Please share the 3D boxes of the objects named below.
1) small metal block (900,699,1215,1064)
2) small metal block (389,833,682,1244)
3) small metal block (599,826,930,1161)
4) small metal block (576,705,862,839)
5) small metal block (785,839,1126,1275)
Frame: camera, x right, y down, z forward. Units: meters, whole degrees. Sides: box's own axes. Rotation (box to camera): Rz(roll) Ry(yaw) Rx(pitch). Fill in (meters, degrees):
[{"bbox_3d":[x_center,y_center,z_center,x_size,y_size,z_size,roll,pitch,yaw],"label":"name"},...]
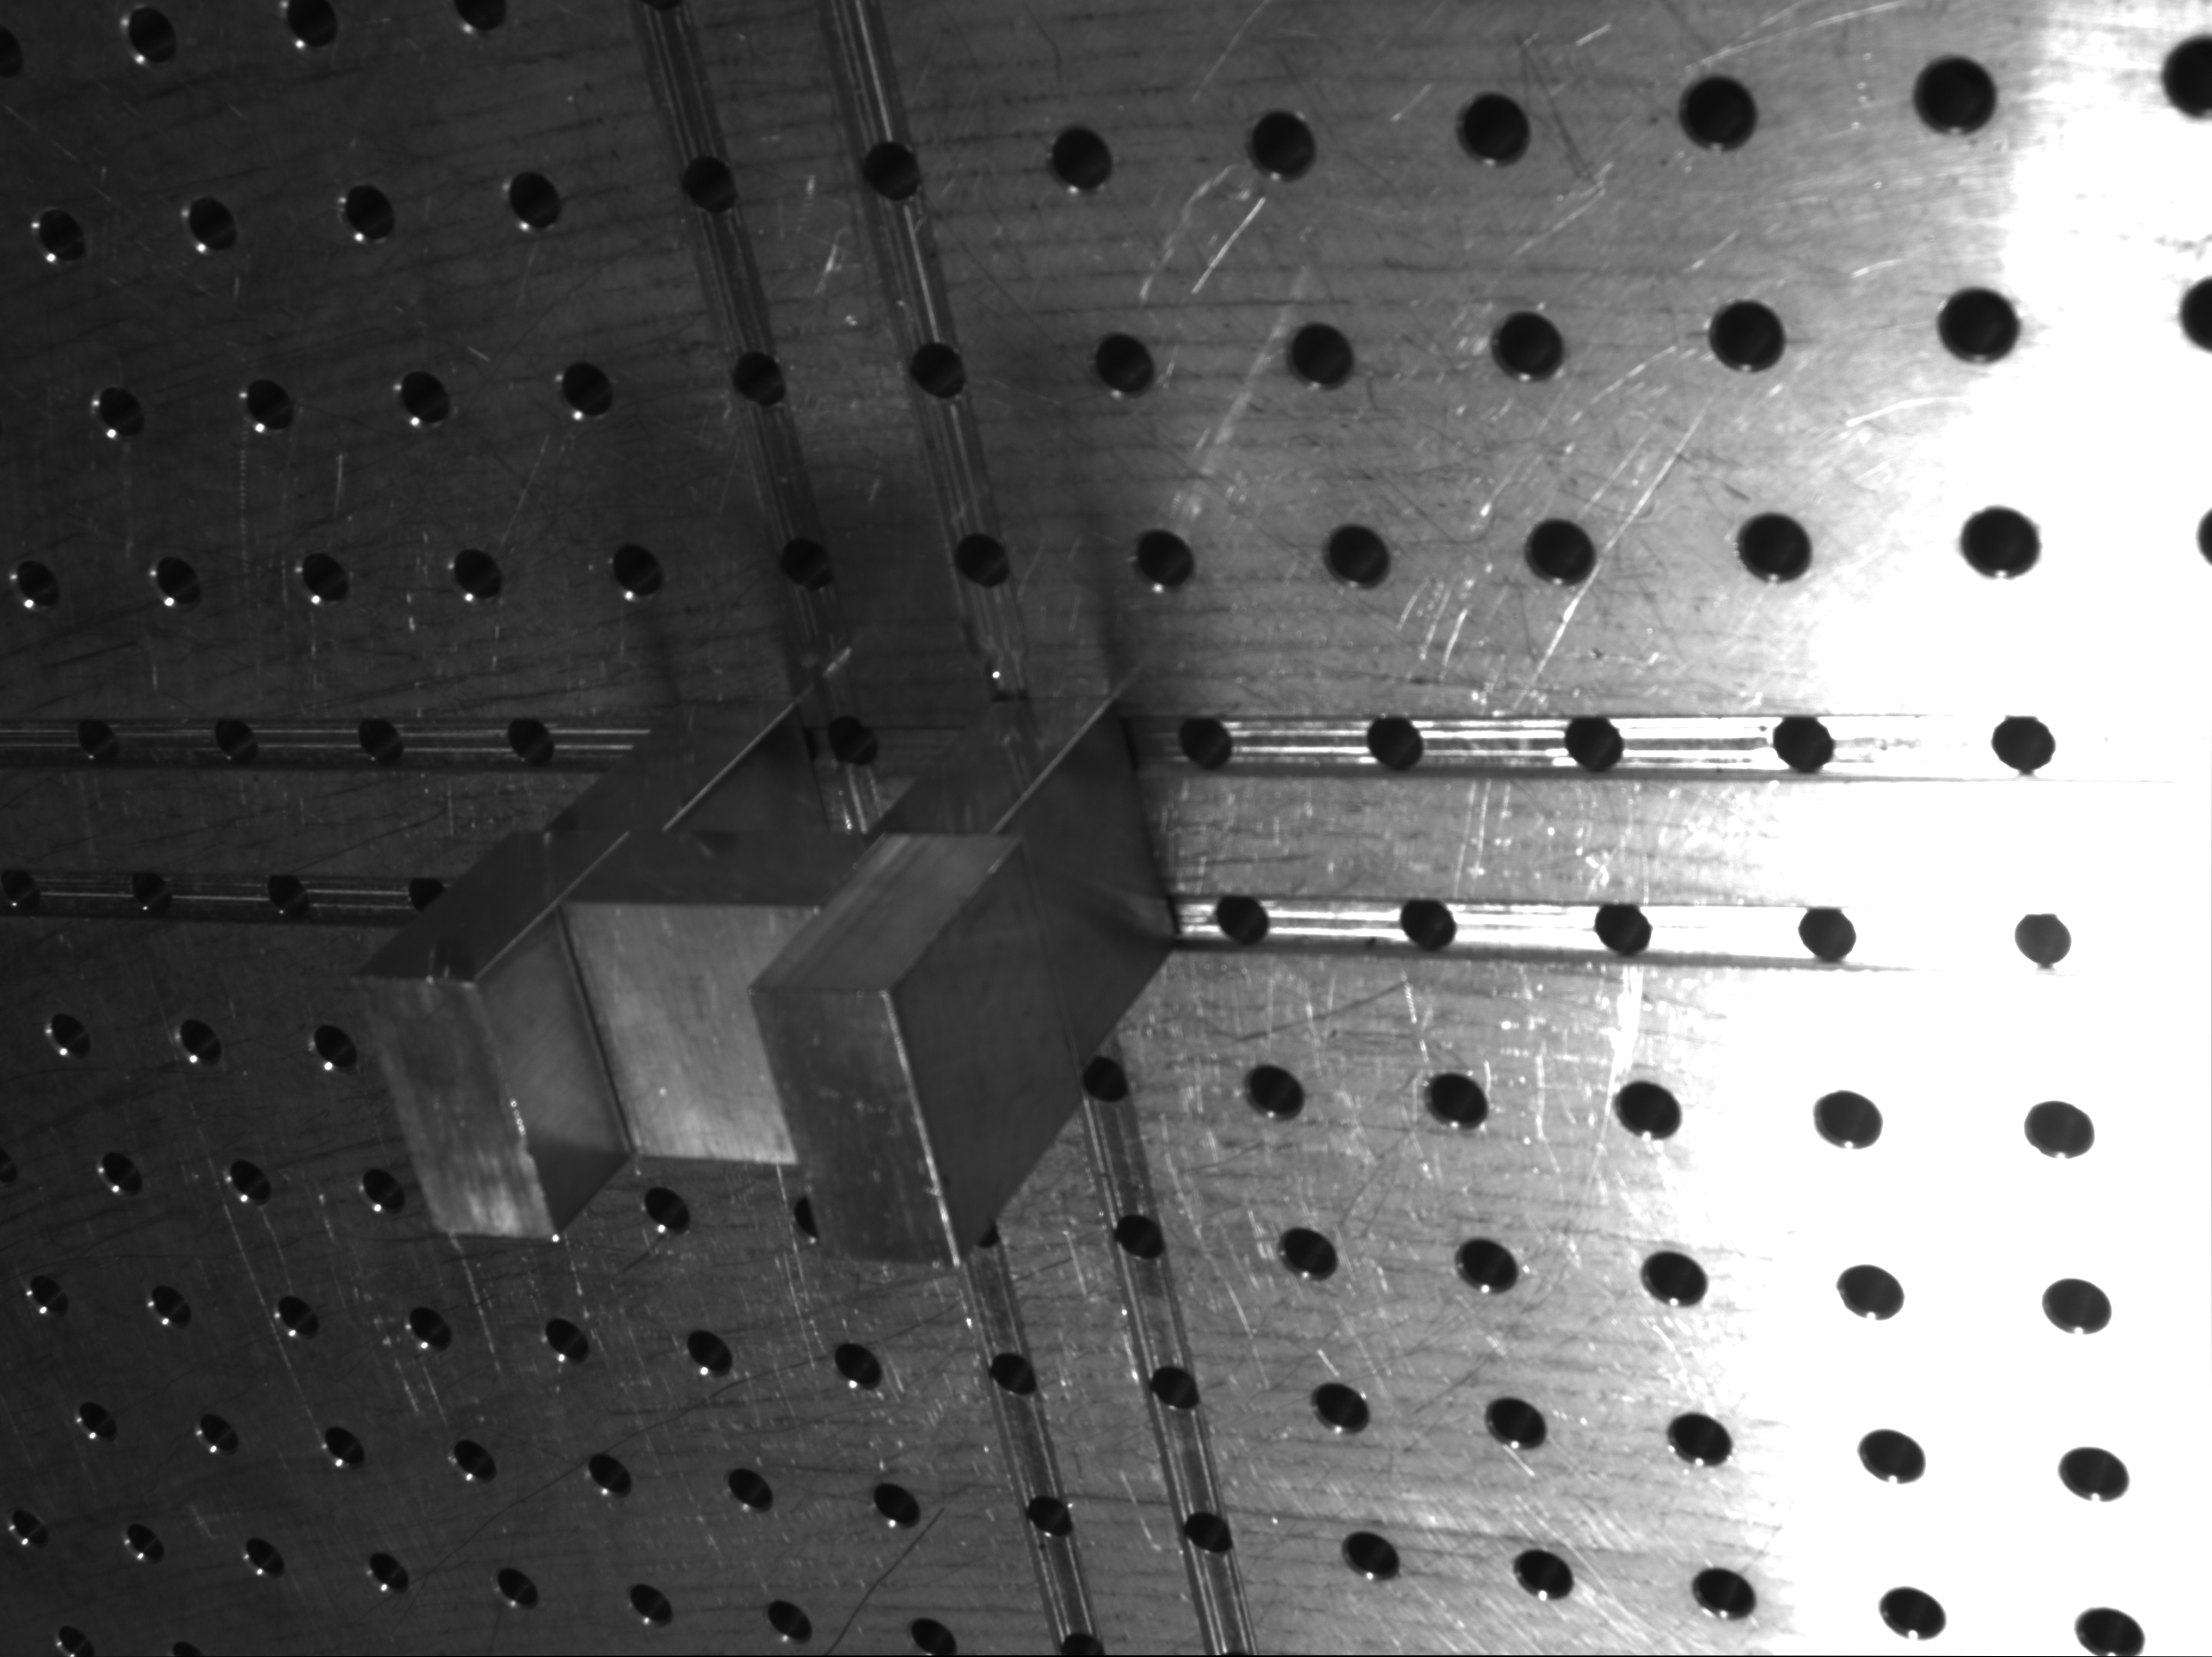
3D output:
[{"bbox_3d":[-0.007,0.012,0.628,0.025,0.050,0.050,-1,118,27],"label":"small metal block"},{"bbox_3d":[-0.090,0.035,0.620,0.025,0.050,0.050,1,118,27],"label":"small metal block"},{"bbox_3d":[-0.051,0.028,0.614,0.050,0.025,0.050,1,119,26],"label":"small metal block"},{"bbox_3d":[-0.065,0.011,0.657,0.025,0.050,0.050,1,118,26],"label":"small metal block"},{"bbox_3d":[-0.023,0.036,0.586,0.025,0.050,0.050,1,118,27],"label":"small metal block"}]
